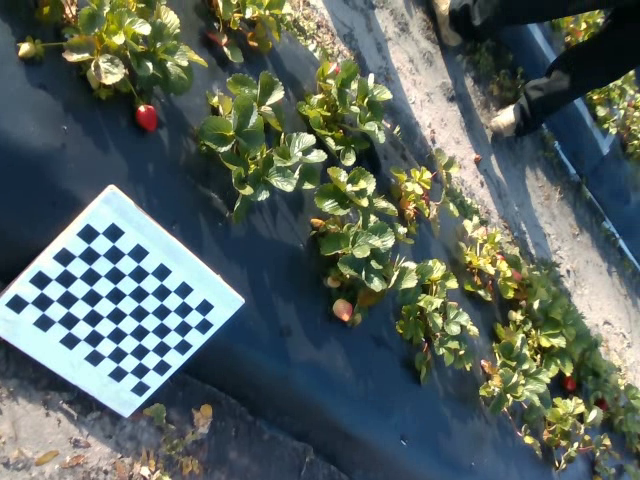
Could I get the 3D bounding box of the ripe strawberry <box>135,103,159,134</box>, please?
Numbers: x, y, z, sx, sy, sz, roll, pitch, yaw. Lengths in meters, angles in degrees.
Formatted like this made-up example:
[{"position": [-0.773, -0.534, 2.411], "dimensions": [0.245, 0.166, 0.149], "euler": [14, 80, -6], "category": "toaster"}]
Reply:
[{"position": [-0.238, -0.166, 0.822], "dimensions": [0.030, 0.045, 0.033], "euler": [-17, -6, -11], "category": "ripe strawberry"}]
